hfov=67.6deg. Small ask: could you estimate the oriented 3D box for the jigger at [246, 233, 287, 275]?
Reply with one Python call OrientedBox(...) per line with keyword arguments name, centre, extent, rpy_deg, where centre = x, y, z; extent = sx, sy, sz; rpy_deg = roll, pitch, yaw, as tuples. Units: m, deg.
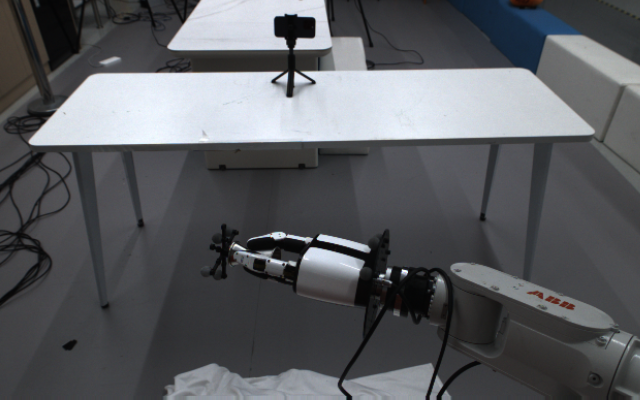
OrientedBox(name="jigger", centre=(-0.091, 0.081, 0.719), extent=(0.071, 0.043, 0.043), rpy_deg=(8, 35, 16))
